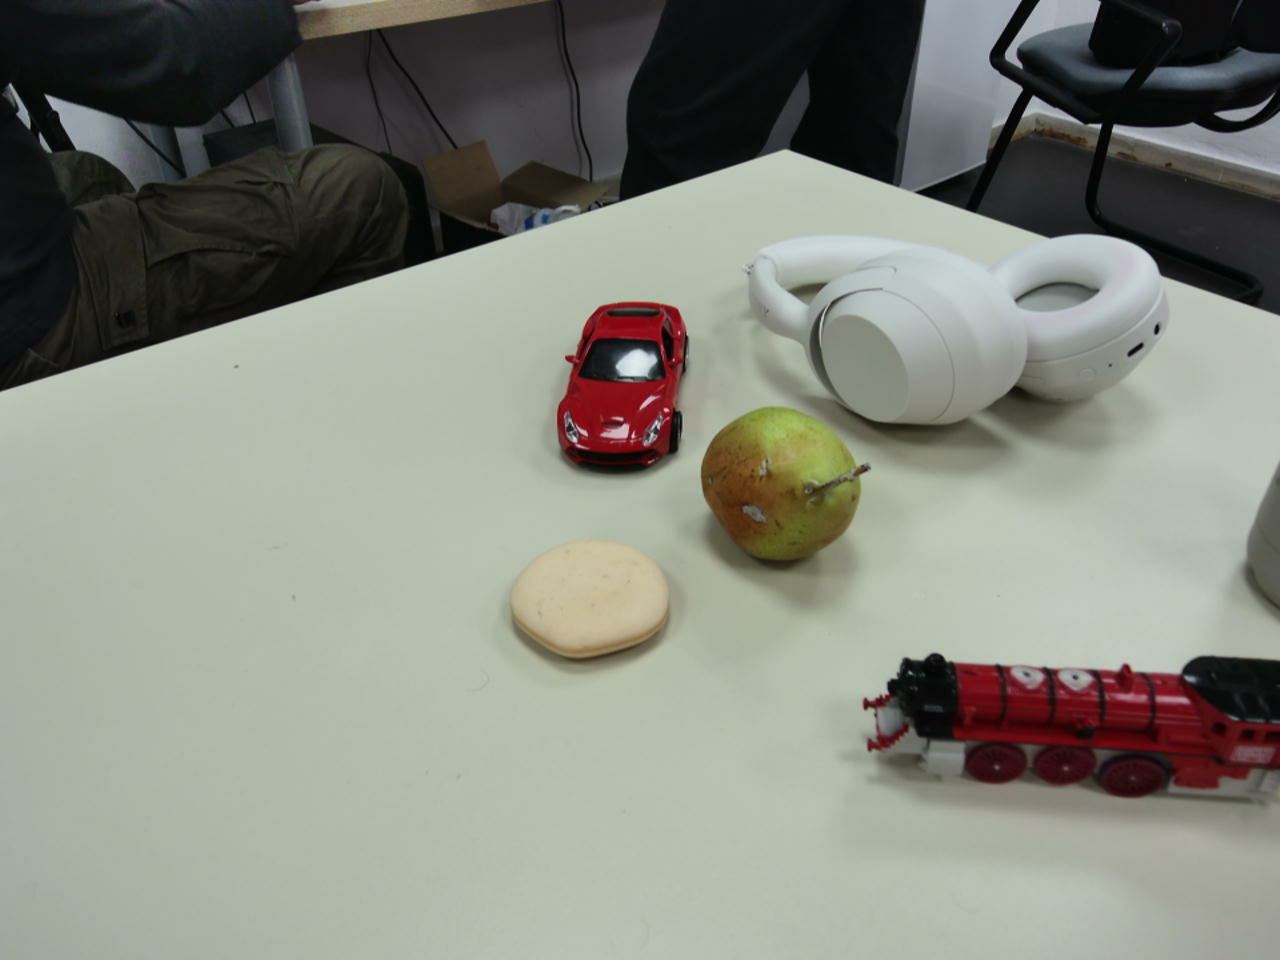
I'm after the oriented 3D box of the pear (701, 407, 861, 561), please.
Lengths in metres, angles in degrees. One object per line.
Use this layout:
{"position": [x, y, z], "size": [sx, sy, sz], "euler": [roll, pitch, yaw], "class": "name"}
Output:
{"position": [0.058, 0.000, 0.422], "size": [0.068, 0.069, 0.070], "euler": [6, 35, 12], "class": "pear"}
